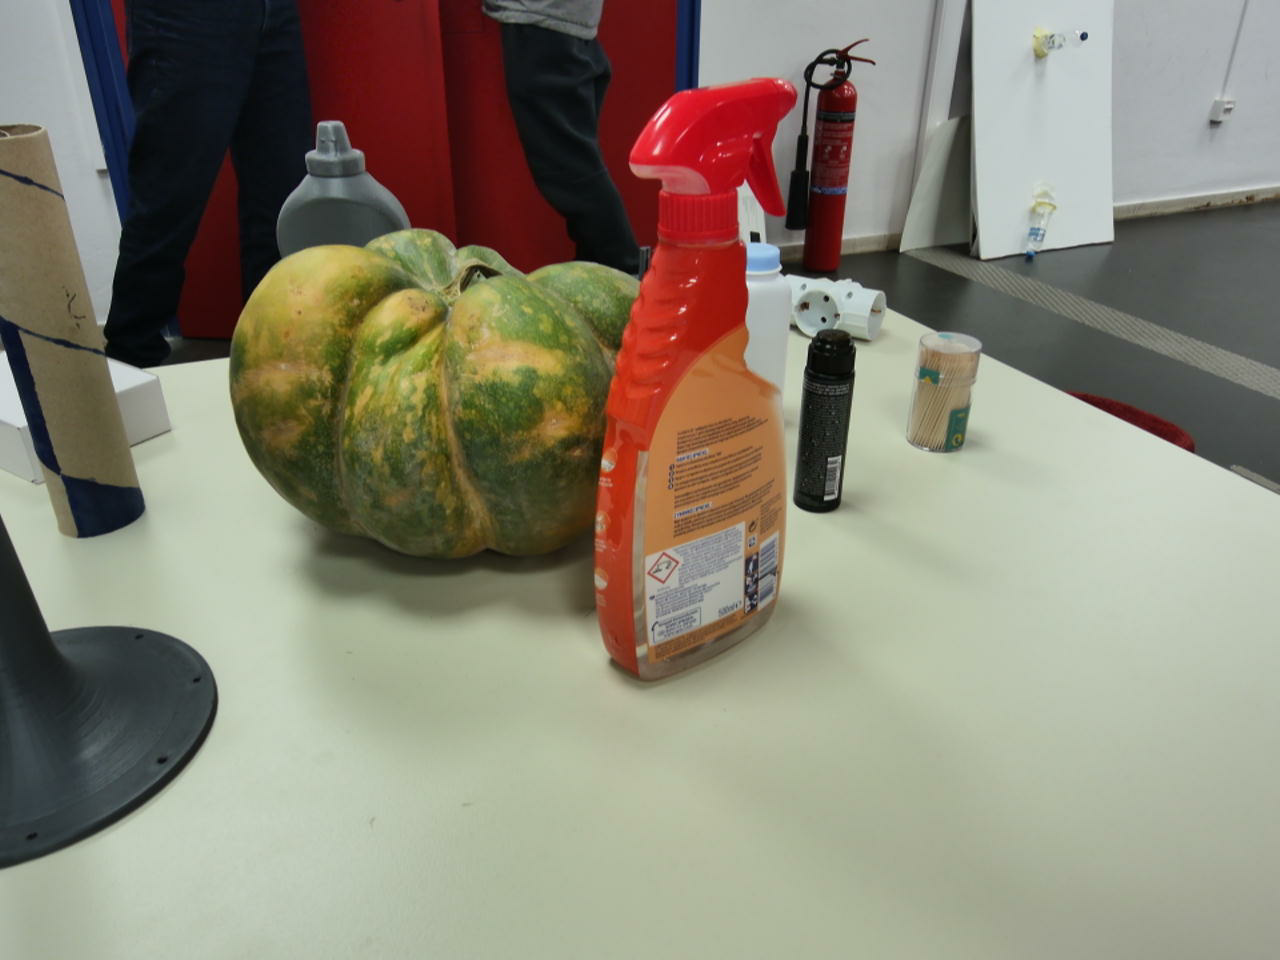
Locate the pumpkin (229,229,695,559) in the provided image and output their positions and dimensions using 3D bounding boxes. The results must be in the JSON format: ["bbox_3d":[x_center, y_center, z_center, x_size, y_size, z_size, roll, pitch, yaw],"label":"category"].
[{"bbox_3d":[-0.102,-0.059,0.579,0.270,0.173,0.237,6,27,11],"label":"pumpkin"}]
